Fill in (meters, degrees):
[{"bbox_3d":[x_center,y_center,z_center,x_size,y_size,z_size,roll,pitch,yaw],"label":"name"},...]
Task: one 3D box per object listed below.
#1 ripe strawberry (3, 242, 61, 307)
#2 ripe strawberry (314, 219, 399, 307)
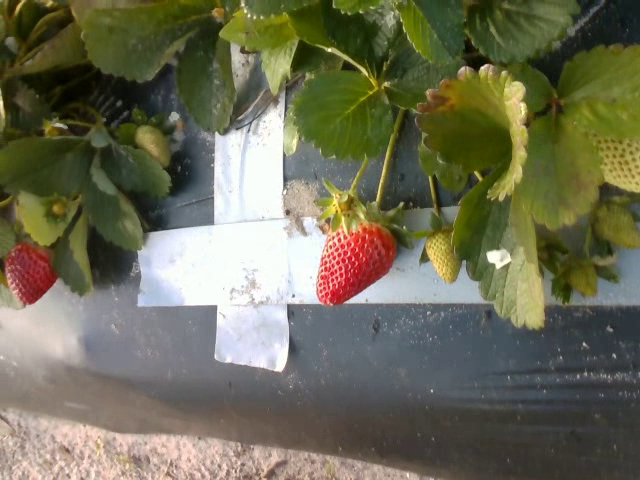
[{"bbox_3d":[-0.098,0.012,0.206,0.020,0.023,0.018,8,-9,-40],"label":"ripe strawberry"},{"bbox_3d":[0.007,0.007,0.149,0.020,0.026,0.023,31,-6,-41],"label":"ripe strawberry"}]
